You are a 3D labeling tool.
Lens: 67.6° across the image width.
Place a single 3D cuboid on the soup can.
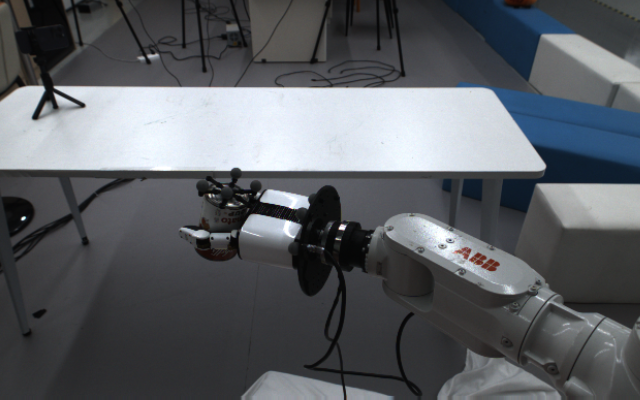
[{"bbox_3d":[-0.148,0.034,0.730,0.067,0.101,0.067,14,31,-8],"label":"soup can"}]
